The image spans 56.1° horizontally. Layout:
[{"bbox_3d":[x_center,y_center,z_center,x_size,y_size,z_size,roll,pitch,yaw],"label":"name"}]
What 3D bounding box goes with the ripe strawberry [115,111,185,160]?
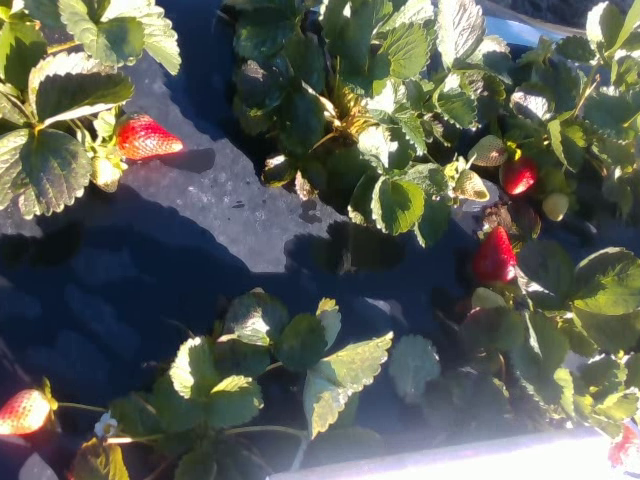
[{"bbox_3d":[-0.148,-0.087,0.519,0.064,0.050,0.052,10,15,-13],"label":"ripe strawberry"}]
